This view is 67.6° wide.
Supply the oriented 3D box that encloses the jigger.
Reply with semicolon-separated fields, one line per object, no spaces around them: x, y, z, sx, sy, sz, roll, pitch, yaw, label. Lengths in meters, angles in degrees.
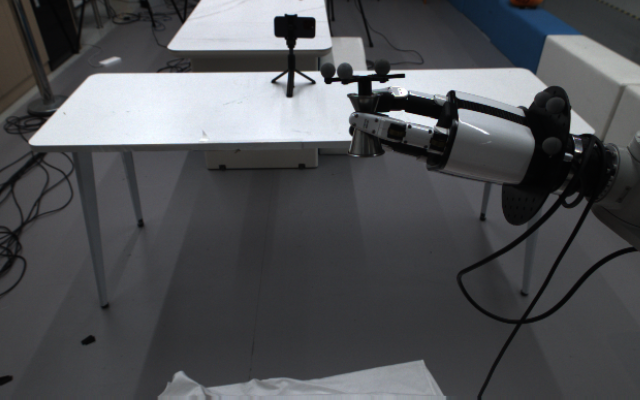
0.052;-0.086;0.553;0.043;0.071;0.043;-2;19;1;jigger
